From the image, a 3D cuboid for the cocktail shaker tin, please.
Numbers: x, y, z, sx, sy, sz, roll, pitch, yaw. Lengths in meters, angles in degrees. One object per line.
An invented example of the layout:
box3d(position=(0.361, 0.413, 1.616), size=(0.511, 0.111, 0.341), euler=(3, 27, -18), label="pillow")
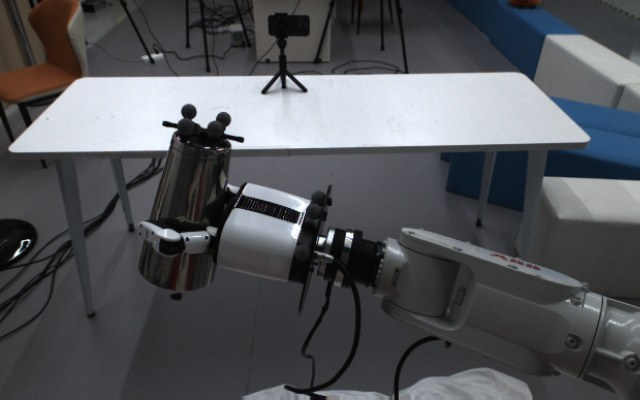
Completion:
box3d(position=(-0.151, 0.010, 0.567), size=(0.093, 0.170, 0.093), euler=(15, 20, -5), label="cocktail shaker tin")
